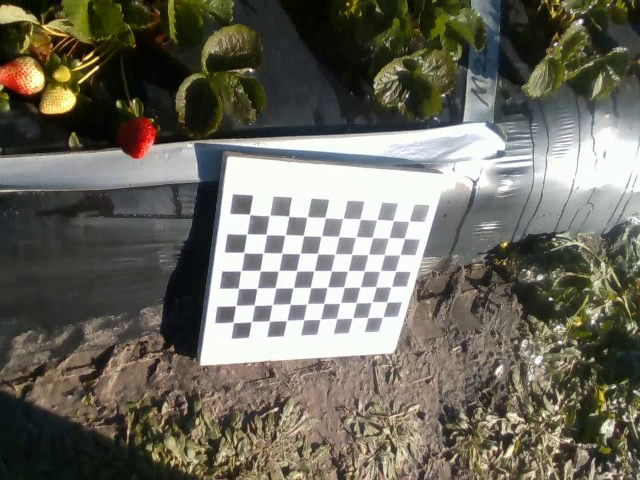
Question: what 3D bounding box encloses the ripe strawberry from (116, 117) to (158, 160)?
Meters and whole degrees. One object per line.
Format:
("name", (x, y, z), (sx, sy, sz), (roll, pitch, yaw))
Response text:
("ripe strawberry", (-0.150, -0.081, 0.489), (0.036, 0.038, 0.046), (1, 39, -21))
